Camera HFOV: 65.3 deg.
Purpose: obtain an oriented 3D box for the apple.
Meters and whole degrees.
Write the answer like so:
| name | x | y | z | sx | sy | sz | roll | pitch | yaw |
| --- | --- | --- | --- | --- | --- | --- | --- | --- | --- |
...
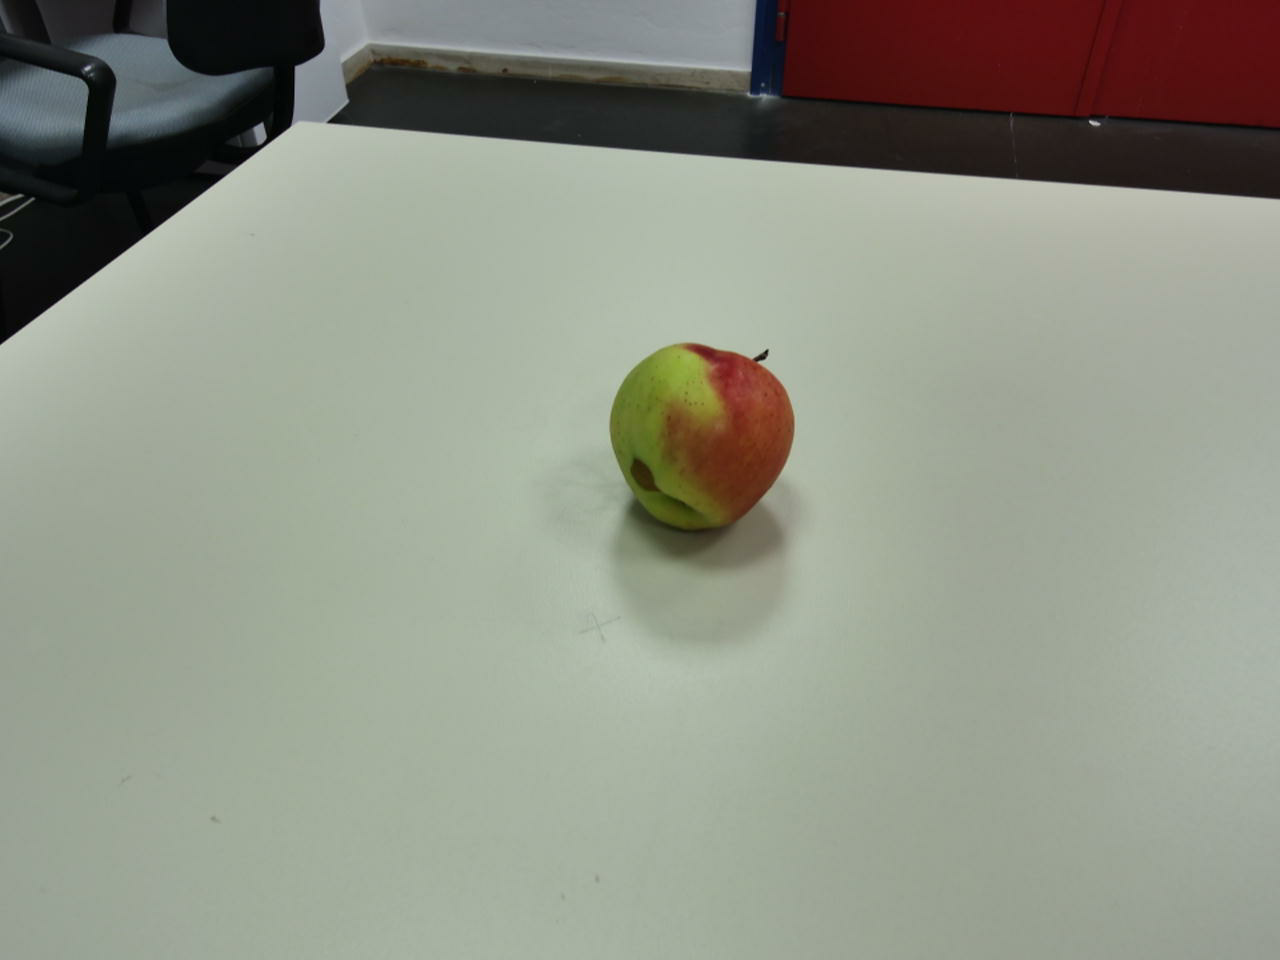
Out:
| name | x | y | z | sx | sy | sz | roll | pitch | yaw |
| --- | --- | --- | --- | --- | --- | --- | --- | --- | --- |
| apple | 0.025 | -0.018 | 0.407 | 0.075 | 0.074 | 0.075 | -3 | 38 | -5 |
